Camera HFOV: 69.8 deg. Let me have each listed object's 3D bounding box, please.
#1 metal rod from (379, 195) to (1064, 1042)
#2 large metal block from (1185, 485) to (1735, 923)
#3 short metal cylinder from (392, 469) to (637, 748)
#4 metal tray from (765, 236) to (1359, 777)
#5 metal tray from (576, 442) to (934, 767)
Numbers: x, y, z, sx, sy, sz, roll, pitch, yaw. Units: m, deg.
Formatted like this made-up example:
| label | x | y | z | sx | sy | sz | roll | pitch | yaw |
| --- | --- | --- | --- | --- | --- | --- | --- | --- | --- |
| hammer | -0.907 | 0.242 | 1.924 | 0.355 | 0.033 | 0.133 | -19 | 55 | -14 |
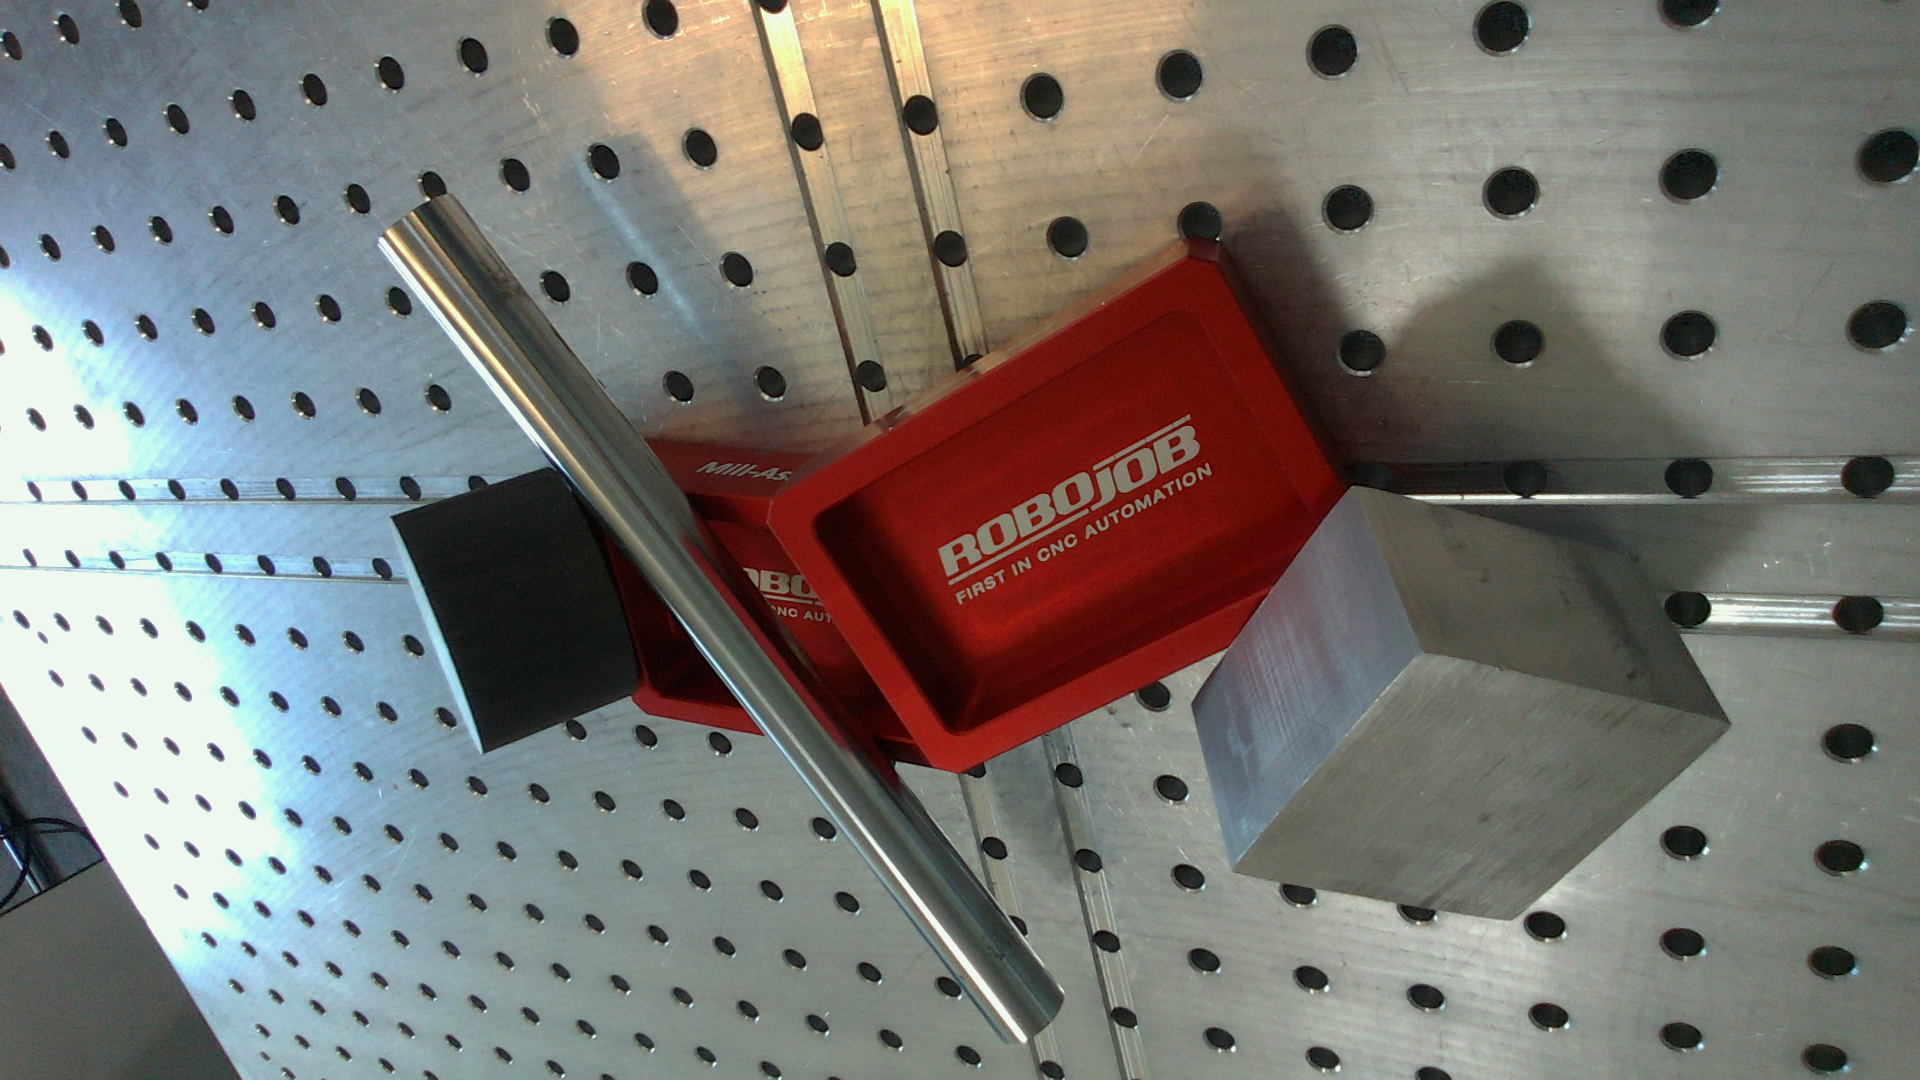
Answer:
| label | x | y | z | sx | sy | sz | roll | pitch | yaw |
| --- | --- | --- | --- | --- | --- | --- | --- | --- | --- |
| metal rod | -0.064 | 0.031 | 0.410 | 0.025 | 0.025 | 0.300 | -28 | 103 | 37 |
| large metal block | 0.111 | 0.042 | 0.323 | 0.080 | 0.050 | 0.080 | 13 | 131 | -17 |
| short metal cylinder | -0.145 | 0.022 | 0.447 | 0.080 | 0.050 | 0.080 | 47 | 149 | 41 |
| metal tray | 0.028 | -0.005 | 0.350 | 0.130 | 0.030 | 0.090 | -28 | 104 | 20 |
| metal tray | -0.052 | 0.019 | 0.432 | 0.130 | 0.030 | 0.090 | 6 | 121 | 25 |
